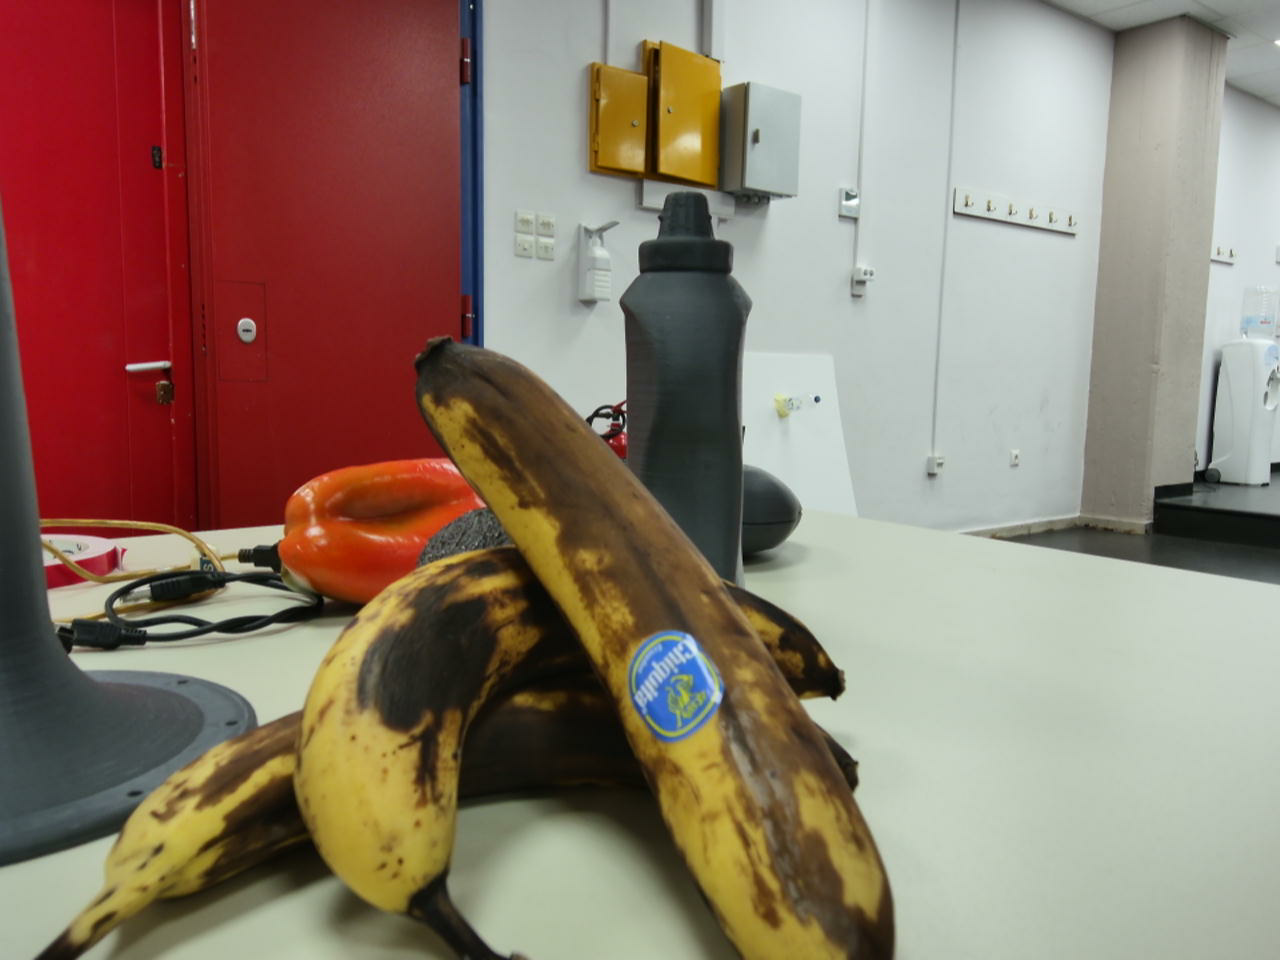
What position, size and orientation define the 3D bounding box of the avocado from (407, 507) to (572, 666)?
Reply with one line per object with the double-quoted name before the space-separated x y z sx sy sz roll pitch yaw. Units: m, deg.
"avocado" -0.065 0.043 0.414 0.062 0.062 0.092 2 5 28
